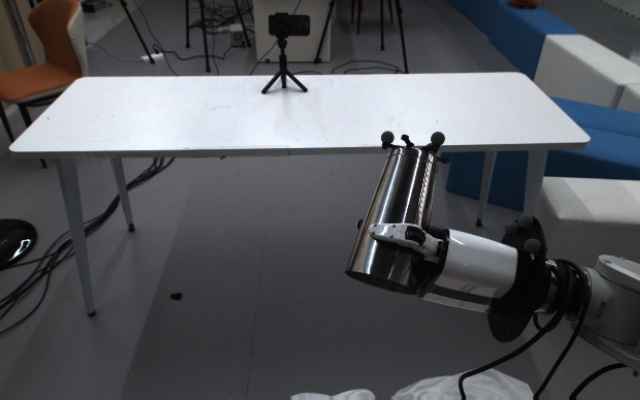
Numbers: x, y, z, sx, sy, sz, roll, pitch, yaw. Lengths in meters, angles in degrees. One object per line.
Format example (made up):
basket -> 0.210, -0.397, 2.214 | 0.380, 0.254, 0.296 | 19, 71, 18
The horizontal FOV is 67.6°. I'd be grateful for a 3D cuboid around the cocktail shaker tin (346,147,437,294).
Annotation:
cocktail shaker tin -> 0.099, 0.024, 0.611 | 0.093, 0.093, 0.170 | 13, 74, 15
